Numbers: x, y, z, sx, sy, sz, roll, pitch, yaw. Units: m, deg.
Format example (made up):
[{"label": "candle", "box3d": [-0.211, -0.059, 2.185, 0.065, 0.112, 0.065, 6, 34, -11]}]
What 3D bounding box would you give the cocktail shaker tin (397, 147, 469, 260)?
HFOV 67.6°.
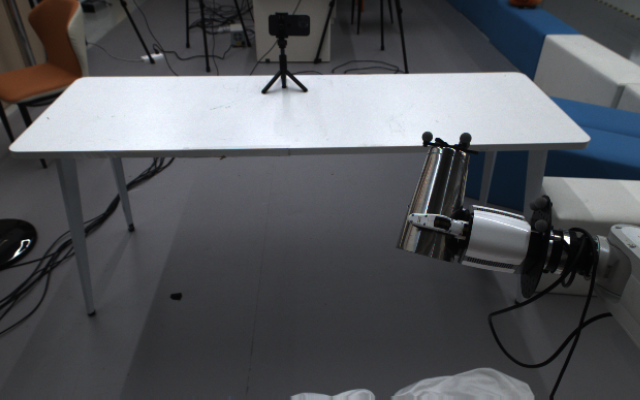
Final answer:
[{"label": "cocktail shaker tin", "box3d": [0.185, 0.006, 0.772, 0.093, 0.170, 0.093, 15, -4, 1]}]
